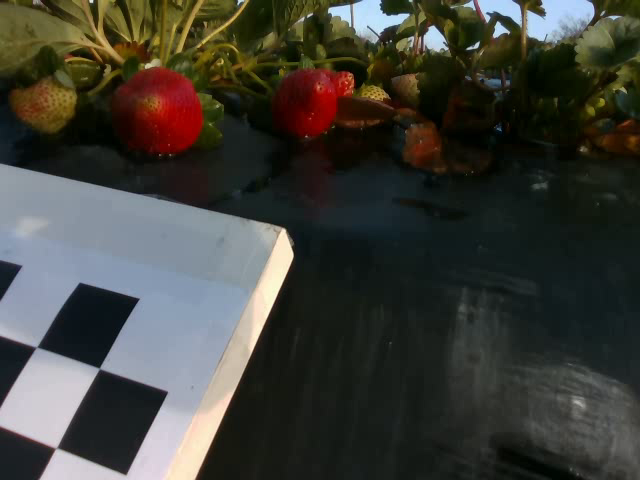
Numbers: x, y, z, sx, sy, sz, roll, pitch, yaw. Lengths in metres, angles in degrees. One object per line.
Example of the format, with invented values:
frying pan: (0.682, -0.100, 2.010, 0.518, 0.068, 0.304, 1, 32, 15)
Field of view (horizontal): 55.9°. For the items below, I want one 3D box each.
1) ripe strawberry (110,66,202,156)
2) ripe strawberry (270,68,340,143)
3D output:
ripe strawberry: (-0.085, -0.068, 0.301, 0.050, 0.050, 0.065, -23, 2, -1)
ripe strawberry: (-0.009, -0.078, 0.339, 0.044, 0.042, 0.055, -43, 9, -14)
